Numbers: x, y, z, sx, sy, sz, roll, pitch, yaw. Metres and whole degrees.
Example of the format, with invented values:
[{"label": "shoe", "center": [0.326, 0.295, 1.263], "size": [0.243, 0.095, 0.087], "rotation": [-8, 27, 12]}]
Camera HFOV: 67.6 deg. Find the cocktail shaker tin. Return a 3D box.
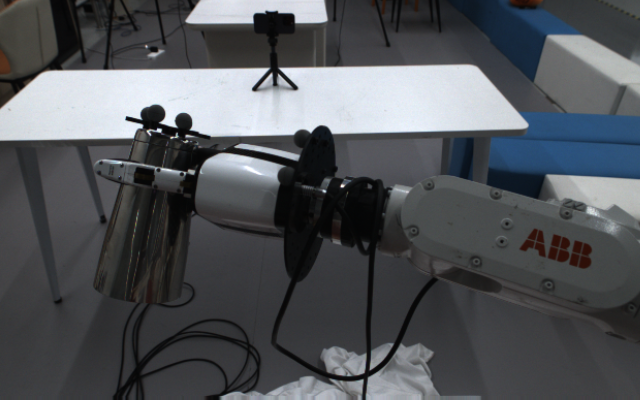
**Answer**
[{"label": "cocktail shaker tin", "center": [-0.179, 0.016, 0.524], "size": [0.093, 0.170, 0.093], "rotation": [12, 3, -1]}]
